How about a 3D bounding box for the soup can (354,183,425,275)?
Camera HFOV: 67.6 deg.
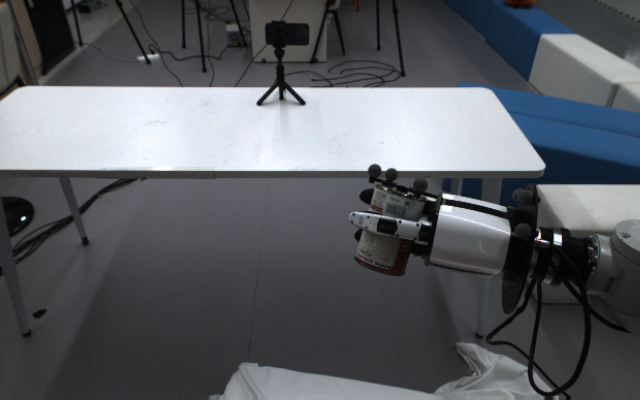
[{"bbox_3d":[0.091,0.037,0.617,0.067,0.101,0.067,15,7,-2],"label":"soup can"}]
